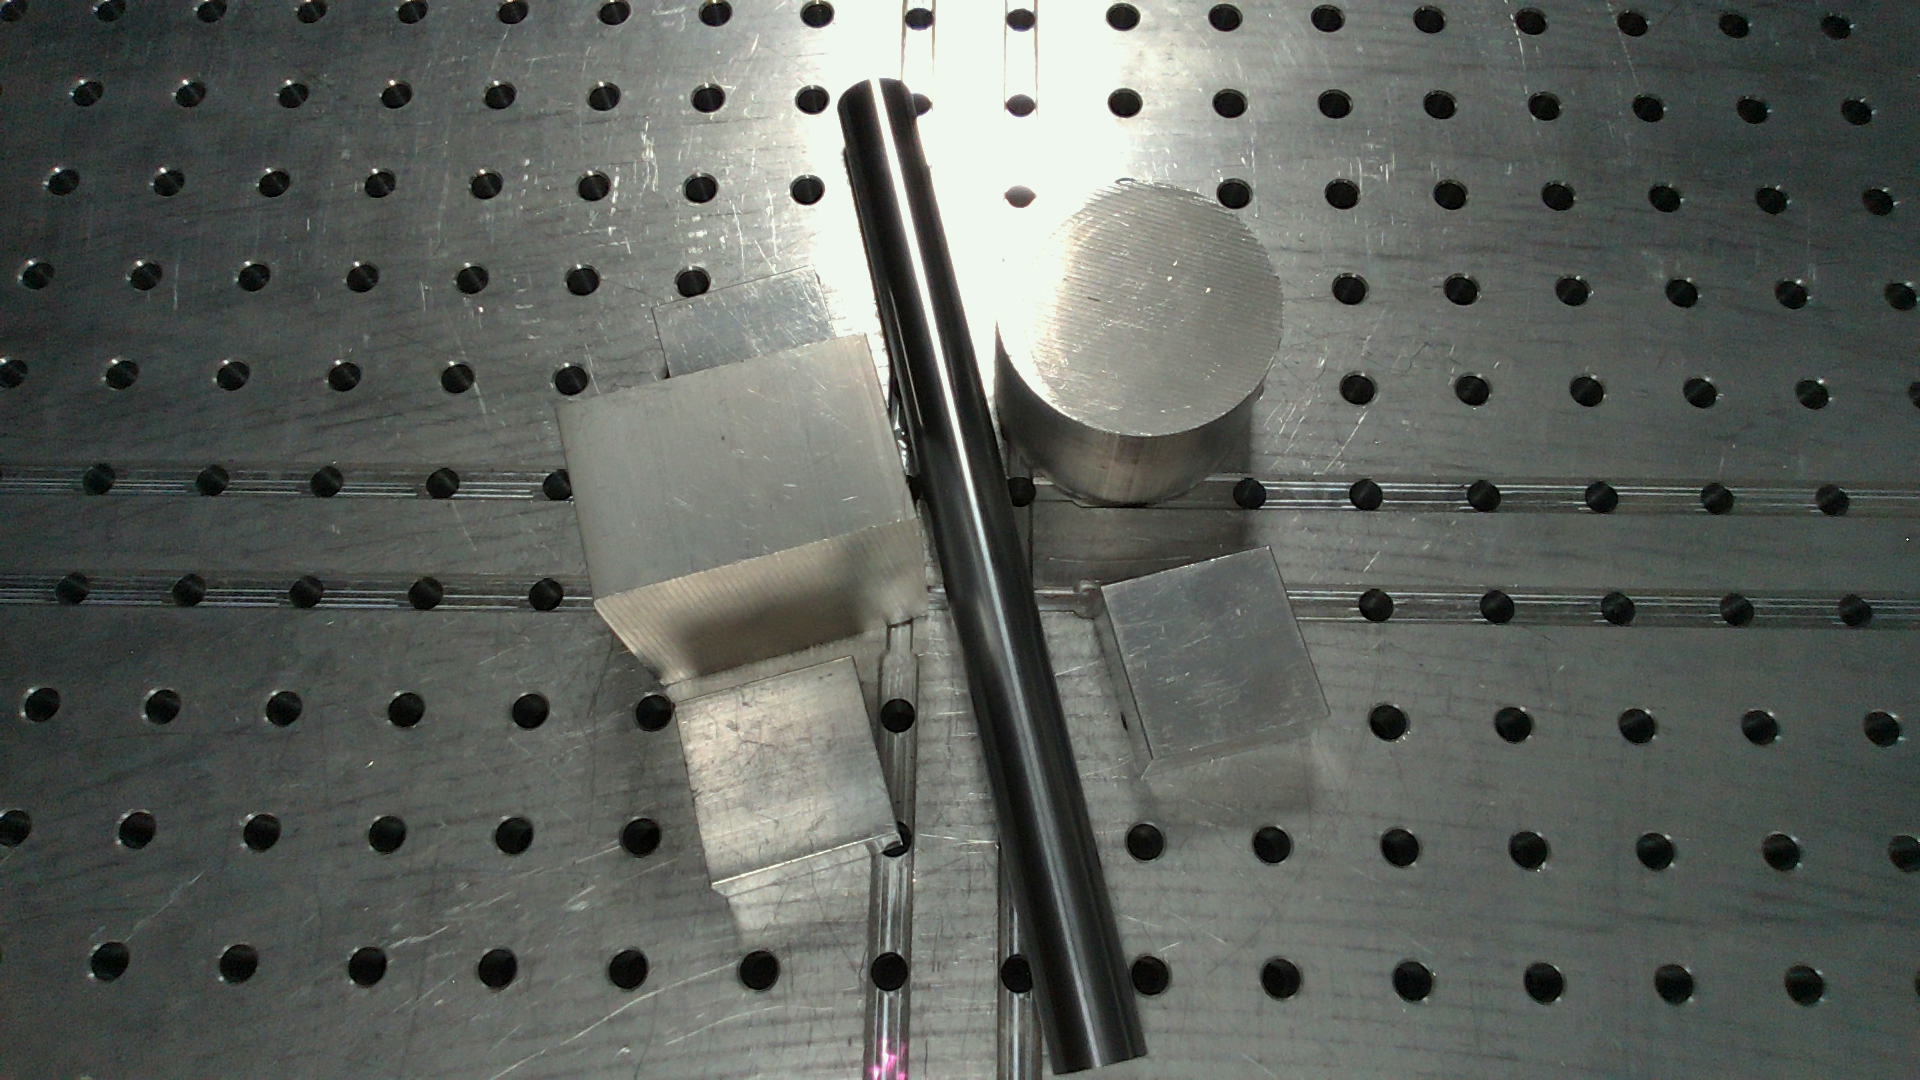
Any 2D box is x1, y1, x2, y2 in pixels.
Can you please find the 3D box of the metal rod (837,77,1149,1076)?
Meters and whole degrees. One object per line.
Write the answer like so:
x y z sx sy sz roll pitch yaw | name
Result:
0.004 -0.005 0.398 0.025 0.025 0.300 -12 70 -4 | metal rod

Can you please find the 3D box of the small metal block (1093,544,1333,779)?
0.069 0.034 0.385 0.050 0.025 0.050 -14 71 -5 | small metal block

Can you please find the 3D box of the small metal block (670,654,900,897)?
-0.047 0.064 0.374 0.050 0.025 0.050 -15 71 -5 | small metal block

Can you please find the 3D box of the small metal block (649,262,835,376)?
-0.061 -0.050 0.415 0.050 0.025 0.050 -16 71 -6 | small metal block

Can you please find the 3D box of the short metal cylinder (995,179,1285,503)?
0.050 -0.057 0.404 0.080 0.050 0.080 0 70 0 | short metal cylinder

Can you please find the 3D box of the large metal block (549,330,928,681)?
-0.055 -0.006 0.368 0.080 0.080 0.050 -15 71 -5 | large metal block
